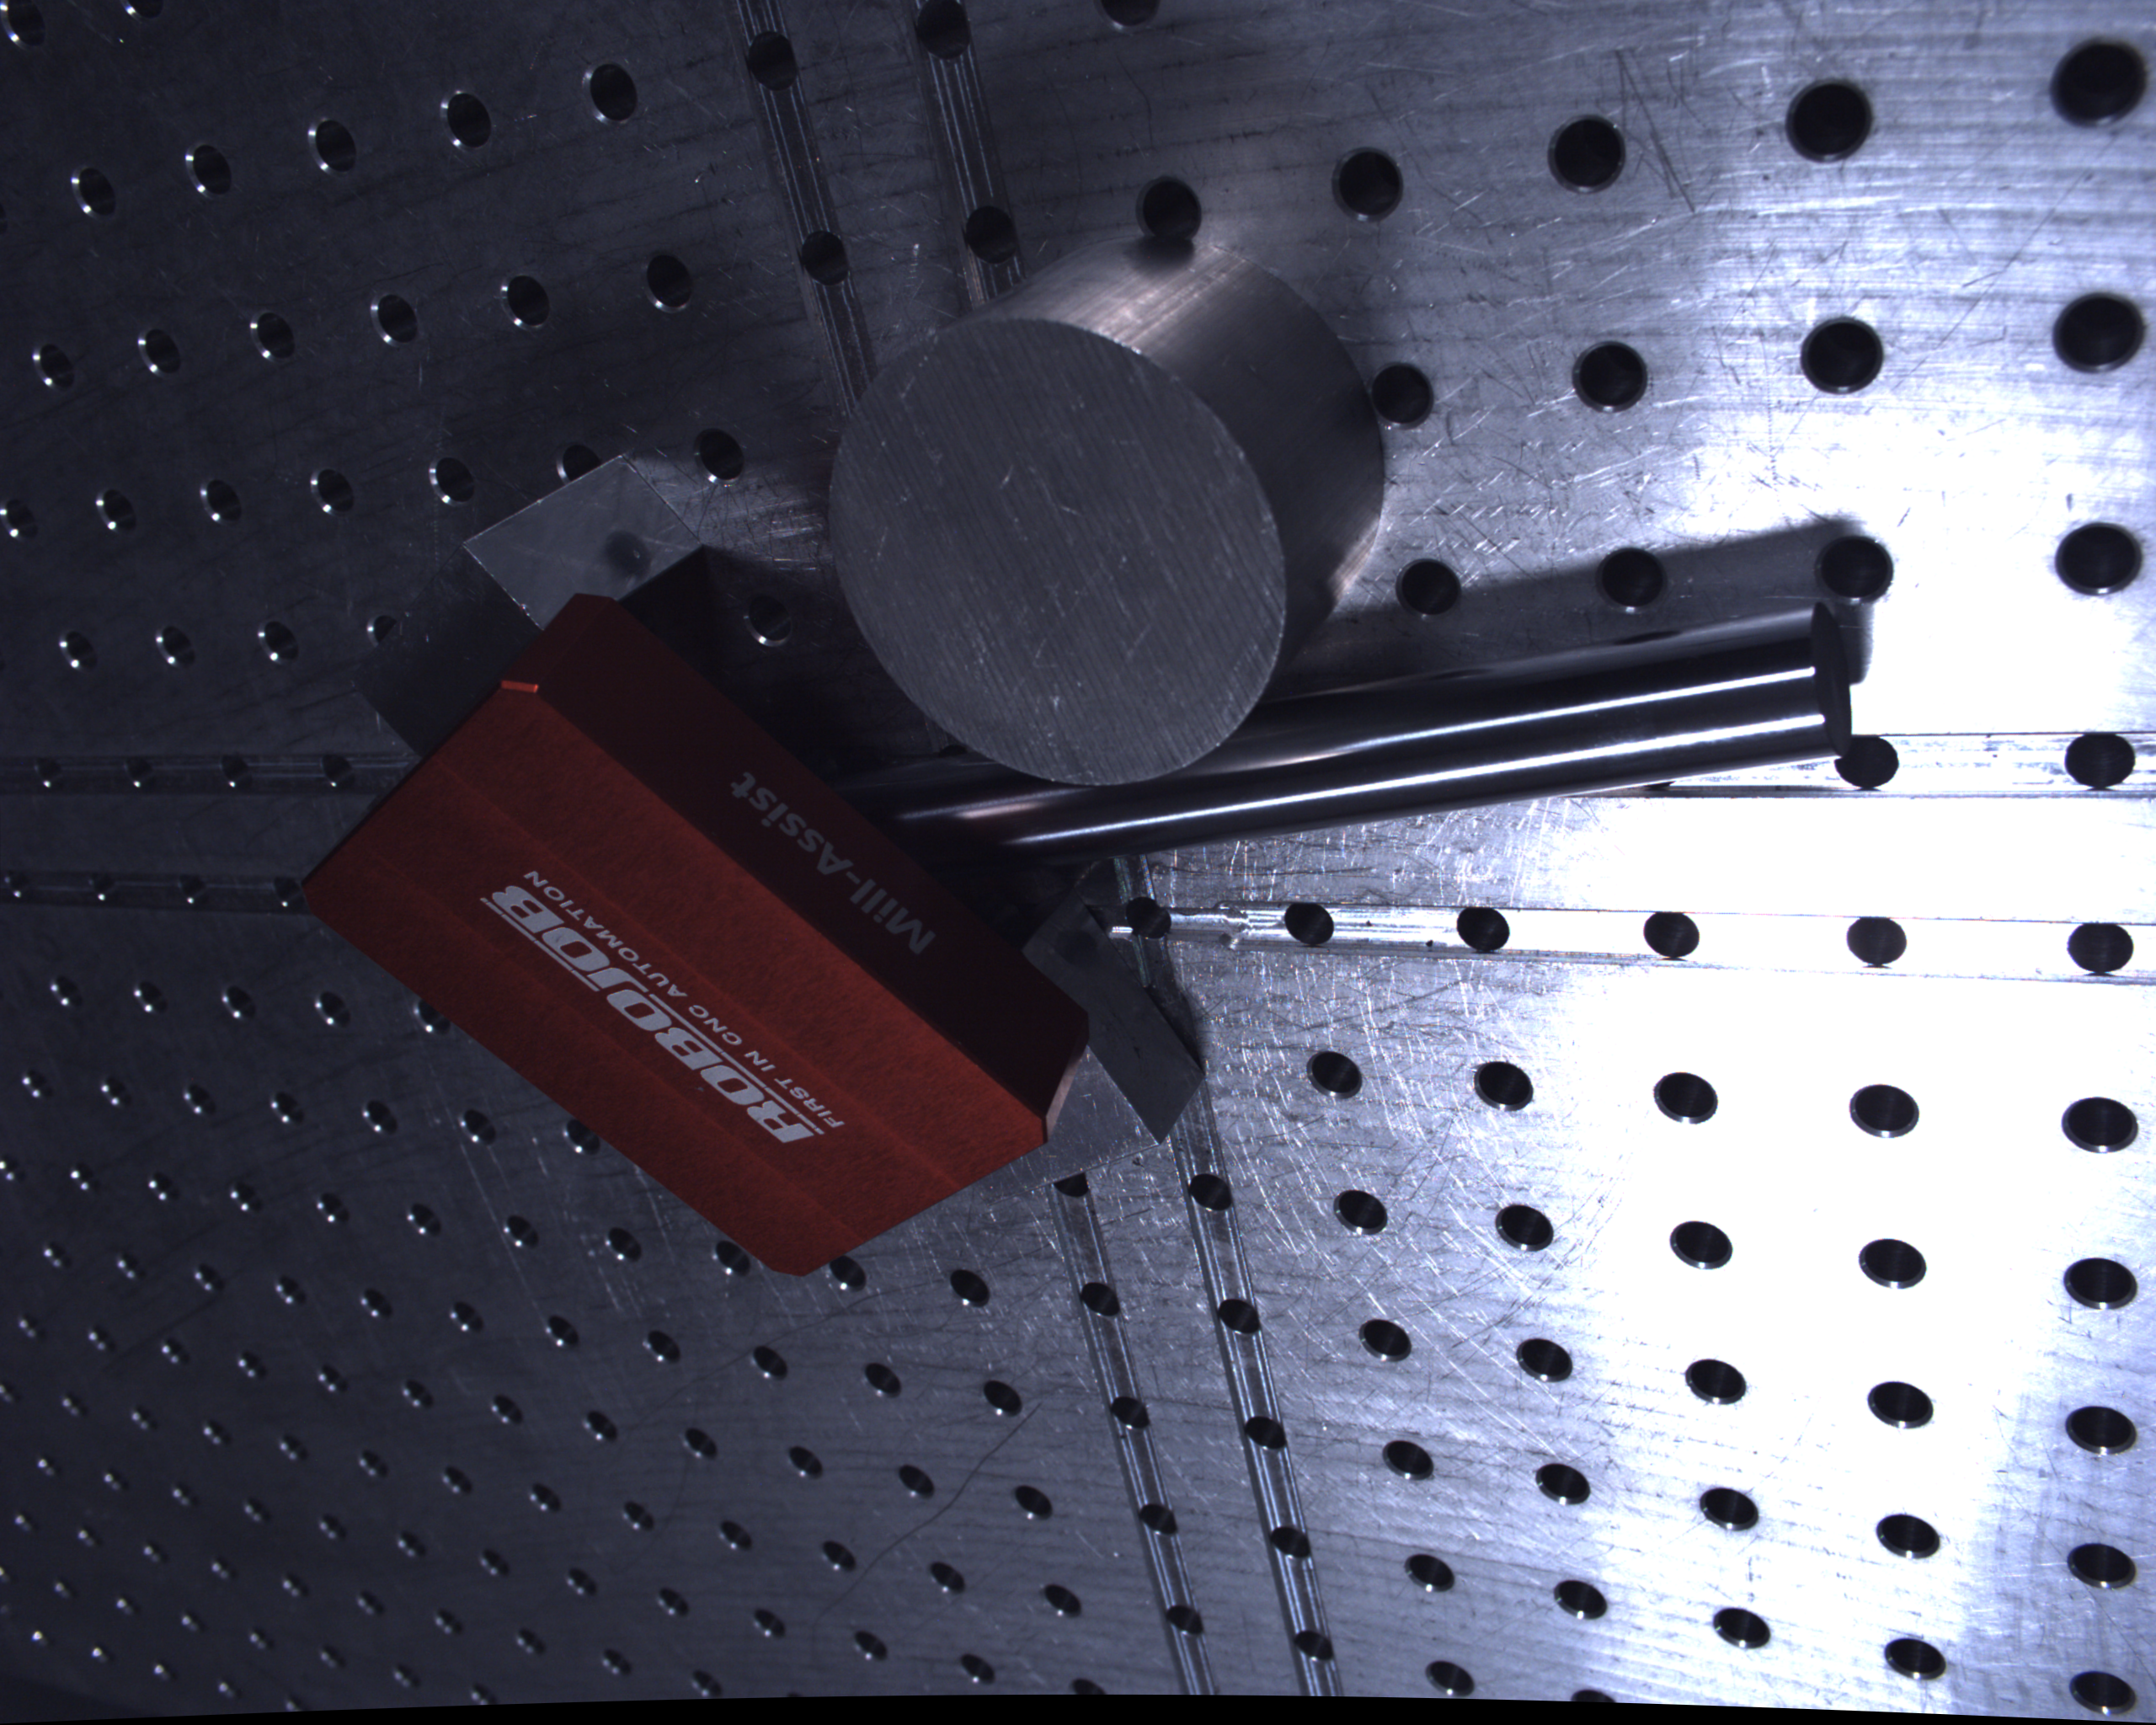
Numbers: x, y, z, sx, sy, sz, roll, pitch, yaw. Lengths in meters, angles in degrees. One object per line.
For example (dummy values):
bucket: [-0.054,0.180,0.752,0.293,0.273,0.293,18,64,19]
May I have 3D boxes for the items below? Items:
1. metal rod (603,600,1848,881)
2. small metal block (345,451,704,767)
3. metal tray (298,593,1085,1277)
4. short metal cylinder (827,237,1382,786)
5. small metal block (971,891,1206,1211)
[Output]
metal rod: [-0.008,-0.011,0.407,0.300,0.025,0.025,-8,115,31]
small metal block: [-0.111,-0.051,0.420,0.025,0.050,0.050,49,128,-7]
metal tray: [-0.075,0.020,0.408,0.130,0.030,0.090,42,130,-16]
short metal cylinder: [0.005,-0.060,0.353,0.080,0.050,0.079,13,124,20]
small metal block: [-0.010,0.040,0.439,0.050,0.025,0.050,-26,105,36]
